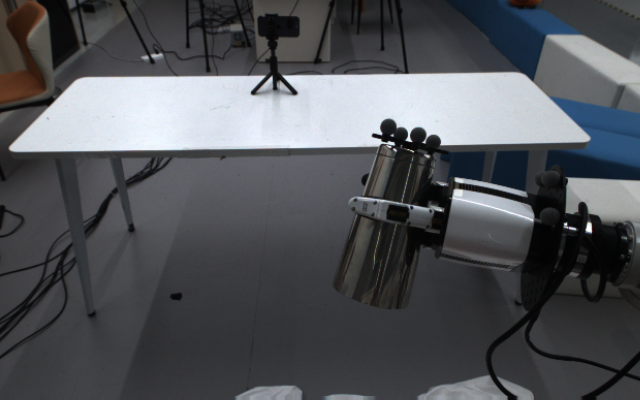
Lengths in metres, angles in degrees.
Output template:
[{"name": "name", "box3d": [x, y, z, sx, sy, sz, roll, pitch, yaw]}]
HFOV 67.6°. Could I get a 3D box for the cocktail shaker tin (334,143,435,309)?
[{"name": "cocktail shaker tin", "box3d": [0.081, 0.027, 0.555, 0.093, 0.170, 0.093, 14, 6, -2]}]
